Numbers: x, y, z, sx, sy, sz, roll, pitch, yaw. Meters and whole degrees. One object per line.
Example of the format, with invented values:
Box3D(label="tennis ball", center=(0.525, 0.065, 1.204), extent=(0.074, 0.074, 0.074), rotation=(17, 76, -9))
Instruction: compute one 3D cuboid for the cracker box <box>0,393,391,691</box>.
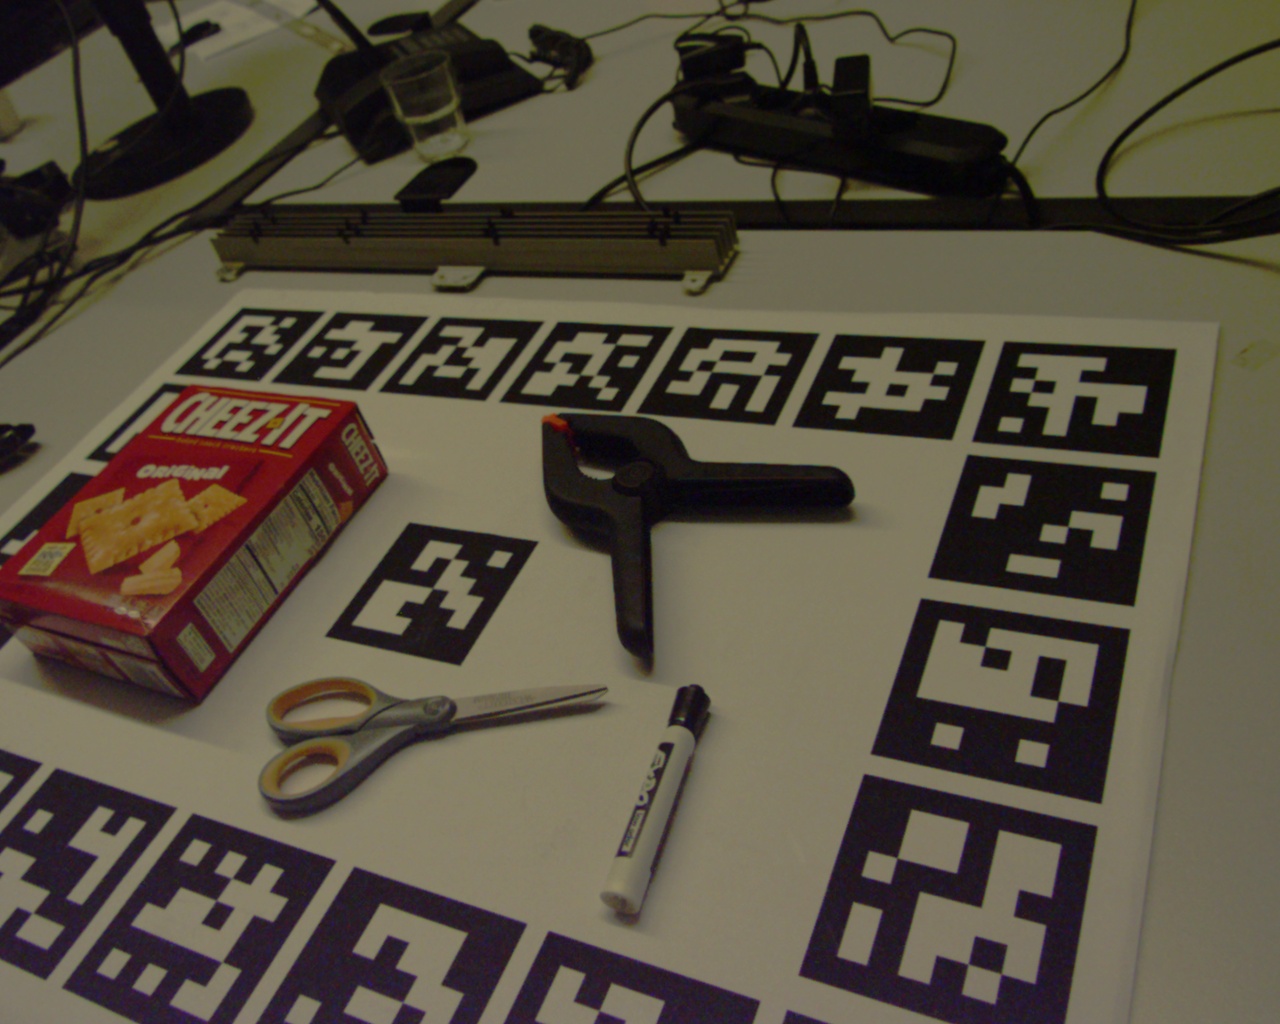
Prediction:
Box3D(label="cracker box", center=(-0.304, 0.009, 0.795), extent=(0.166, 0.071, 0.213), rotation=(8, 47, 28))

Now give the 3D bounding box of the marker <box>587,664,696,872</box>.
Box3D(label="marker", center=(0.003, 0.127, 0.585), extent=(0.020, 0.019, 0.120), rotation=(4, 45, 24))

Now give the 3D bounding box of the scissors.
Box3D(label="scissors", center=(-0.122, 0.108, 0.654), extent=(0.203, 0.016, 0.088), rotation=(-12, 40, 4))

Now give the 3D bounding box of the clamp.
Box3D(label="clamp", center=(-0.003, -0.011, 0.749), extent=(0.164, 0.036, 0.205), rotation=(-34, 43, -18))
